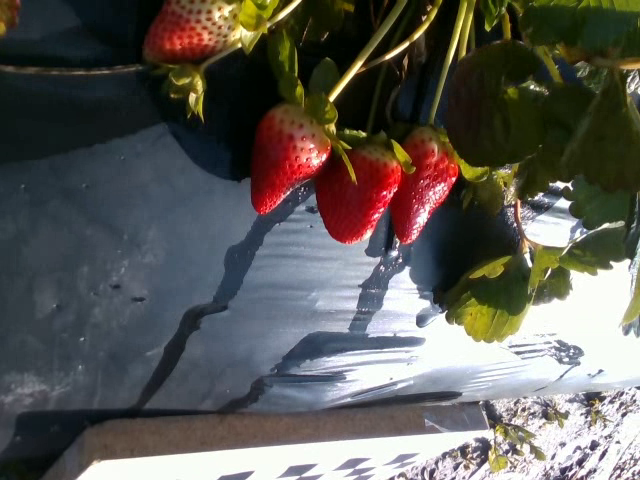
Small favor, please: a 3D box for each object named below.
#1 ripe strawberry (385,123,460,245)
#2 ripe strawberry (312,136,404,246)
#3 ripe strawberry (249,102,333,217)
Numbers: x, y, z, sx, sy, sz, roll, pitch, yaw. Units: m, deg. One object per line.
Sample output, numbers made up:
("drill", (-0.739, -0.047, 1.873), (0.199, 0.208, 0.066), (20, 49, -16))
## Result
("ripe strawberry", (0.036, -0.014, 0.240), (0.035, 0.041, 0.033), (8, -1, -30))
("ripe strawberry", (0.013, -0.016, 0.222), (0.030, 0.039, 0.036), (20, -21, -40))
("ripe strawberry", (-0.012, -0.025, 0.211), (0.031, 0.046, 0.023), (11, 34, -33))
